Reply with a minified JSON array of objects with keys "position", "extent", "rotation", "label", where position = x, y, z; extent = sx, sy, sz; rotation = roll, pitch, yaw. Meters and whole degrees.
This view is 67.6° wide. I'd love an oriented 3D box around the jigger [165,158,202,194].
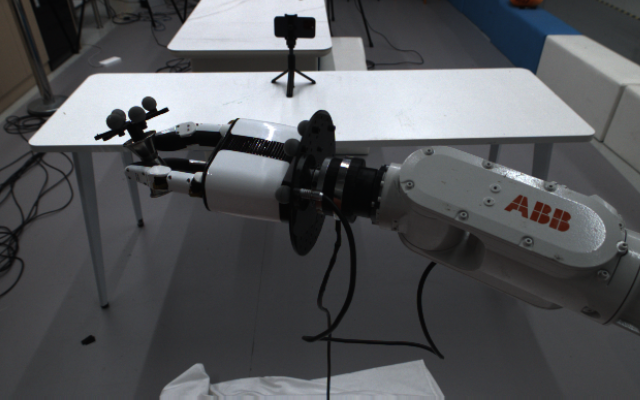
[{"position":[-0.192,-0.043,0.572],"extent":[0.043,0.071,0.043],"rotation":[-19,24,9],"label":"jigger"}]
